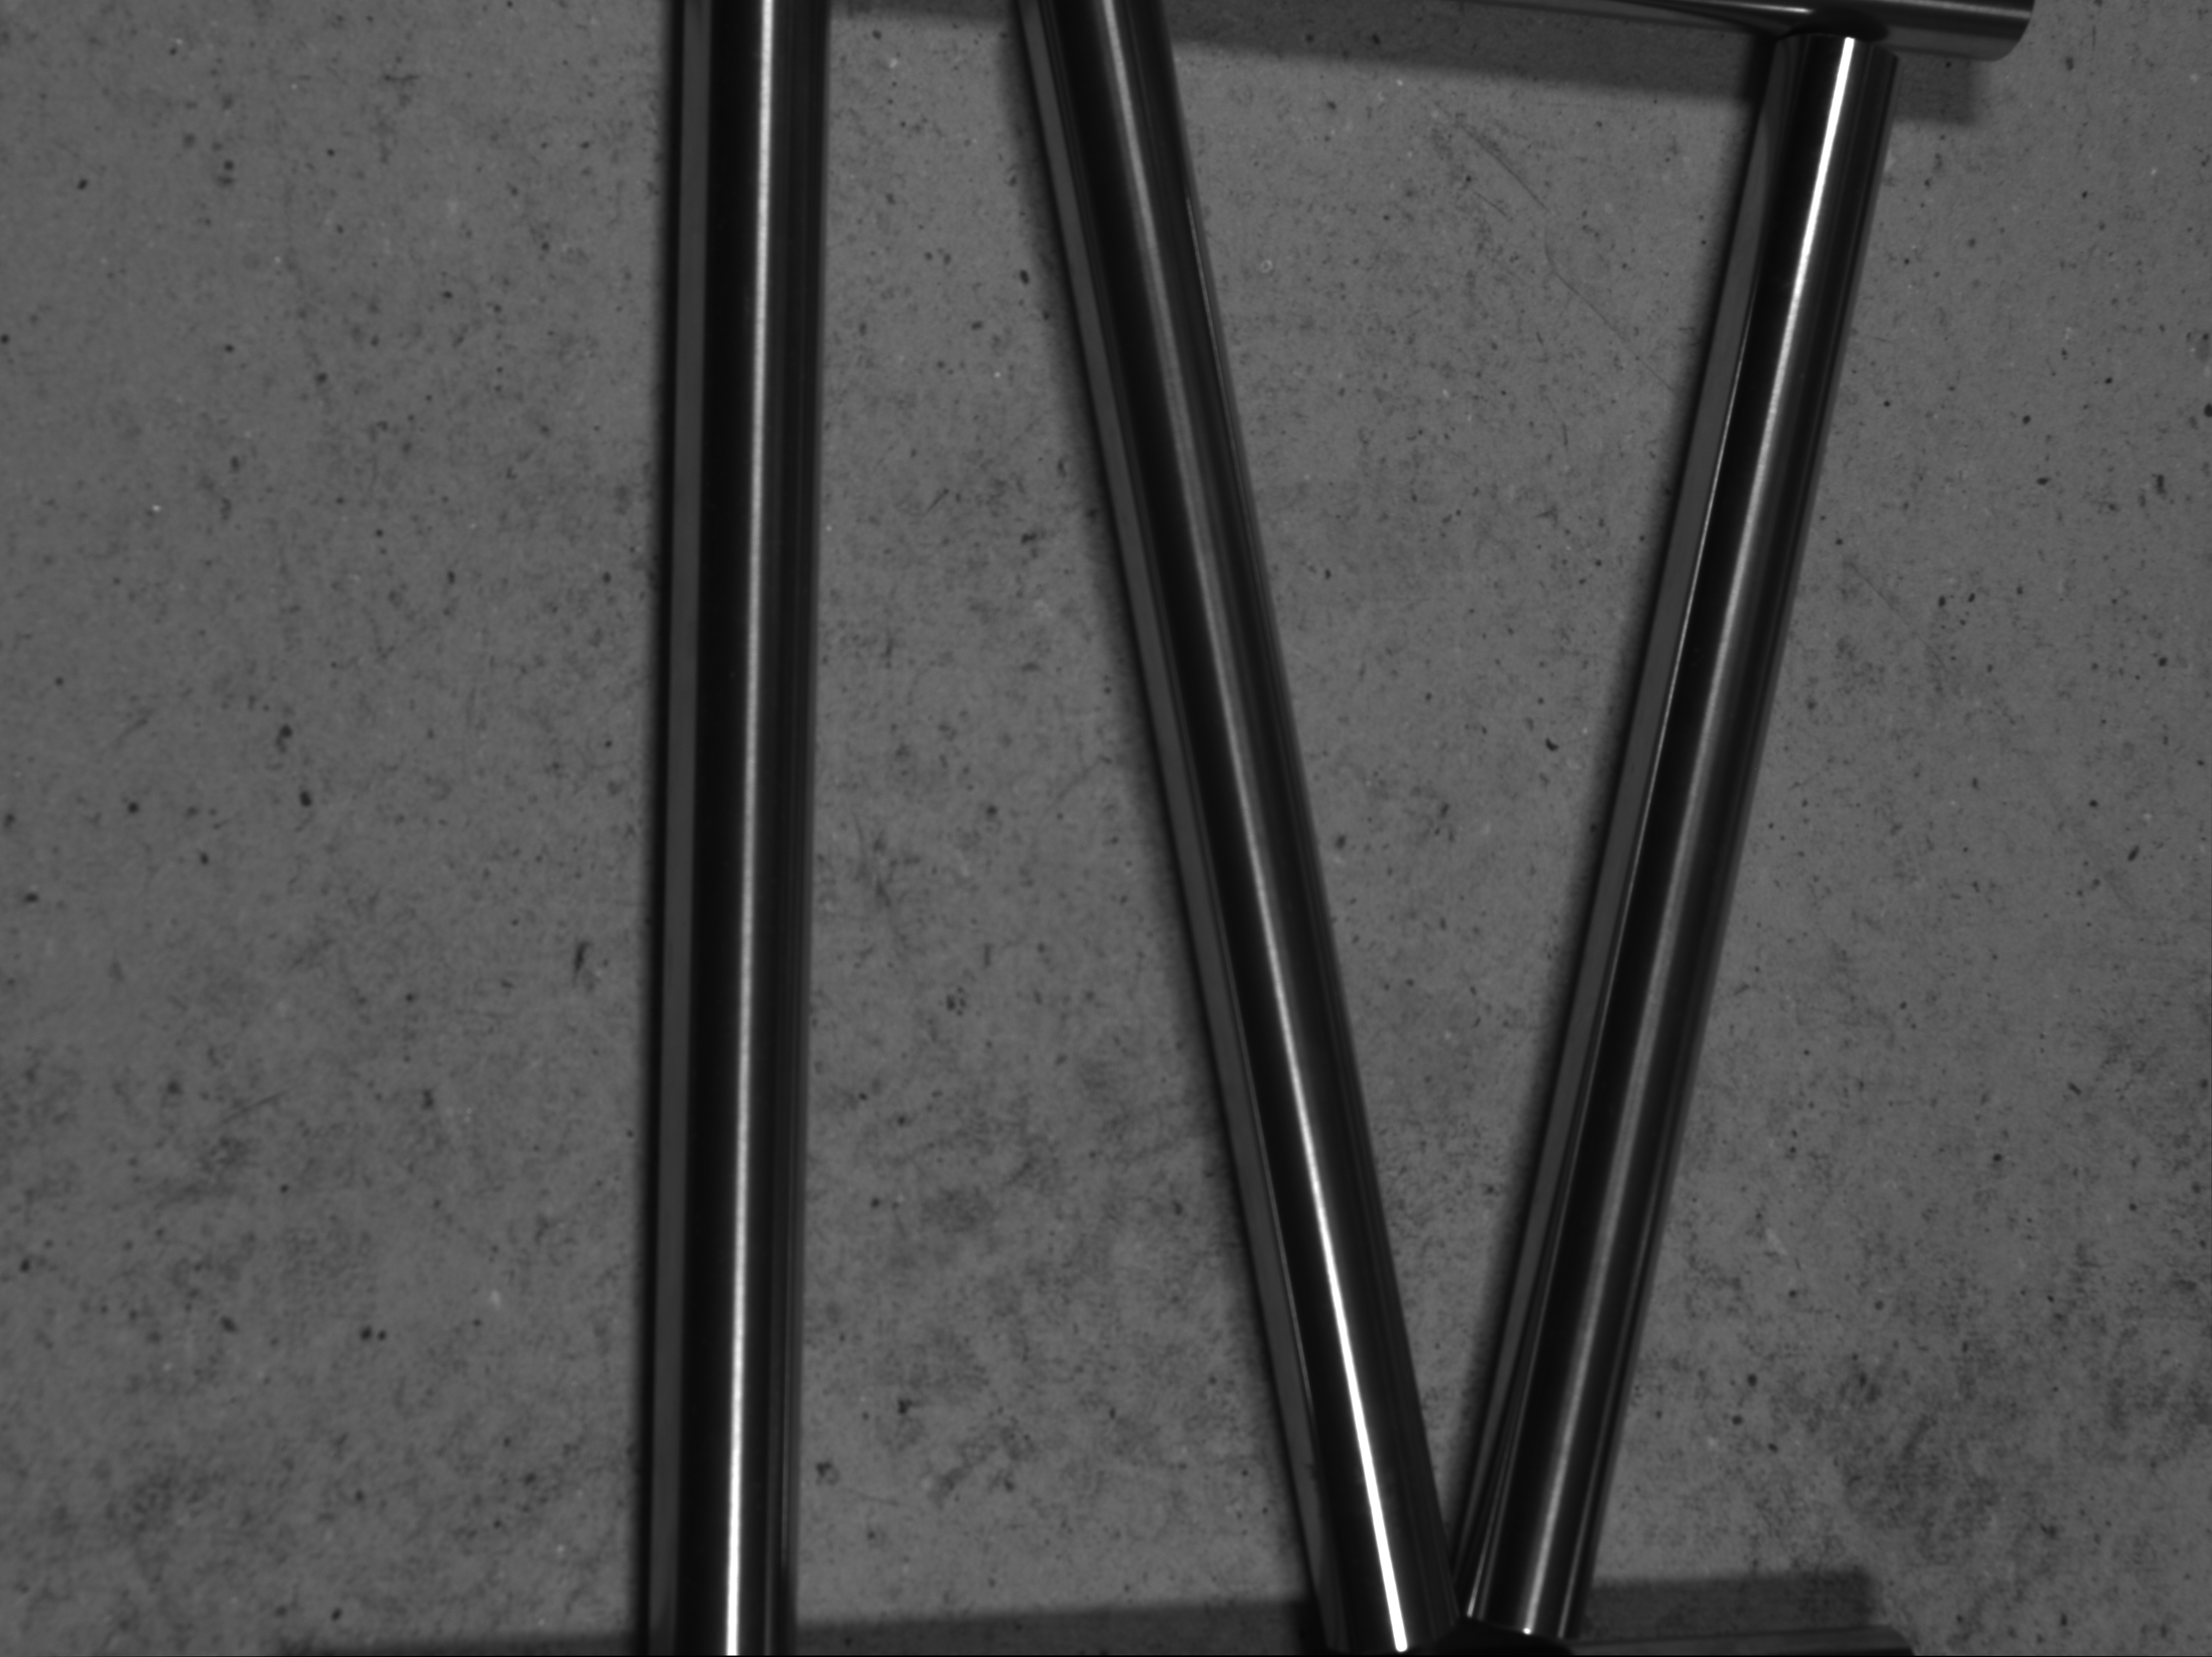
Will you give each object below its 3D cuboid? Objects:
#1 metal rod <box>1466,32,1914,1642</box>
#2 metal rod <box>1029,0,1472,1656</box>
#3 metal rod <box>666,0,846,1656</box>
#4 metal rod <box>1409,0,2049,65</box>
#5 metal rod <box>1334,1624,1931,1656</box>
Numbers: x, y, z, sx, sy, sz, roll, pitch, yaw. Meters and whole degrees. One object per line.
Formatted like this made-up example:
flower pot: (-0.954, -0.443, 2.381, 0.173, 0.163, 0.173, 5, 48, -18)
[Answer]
metal rod: (0.109, 0.000, 0.682, 0.025, 0.025, 0.300, 14, 85, -19)
metal rod: (0.026, -0.001, 0.652, 0.025, 0.025, 0.300, -12, 94, -19)
metal rod: (-0.059, -0.004, 0.621, 0.025, 0.025, 0.300, 1, 89, -20)
metal rod: (0.034, -0.163, 0.656, 0.301, 0.025, 0.025, 1, 89, -20)
metal rod: (0.011, 0.161, 0.646, 0.301, 0.025, 0.025, 1, 89, -20)
